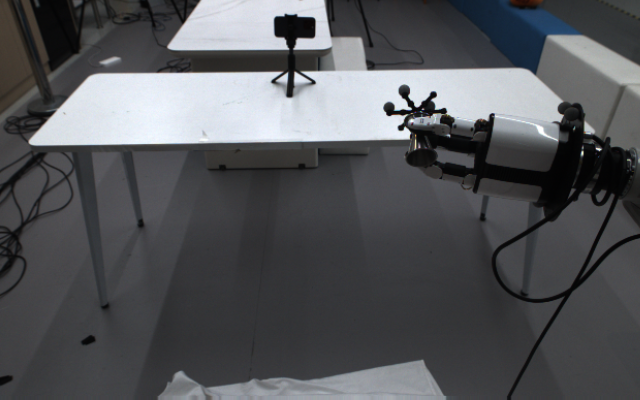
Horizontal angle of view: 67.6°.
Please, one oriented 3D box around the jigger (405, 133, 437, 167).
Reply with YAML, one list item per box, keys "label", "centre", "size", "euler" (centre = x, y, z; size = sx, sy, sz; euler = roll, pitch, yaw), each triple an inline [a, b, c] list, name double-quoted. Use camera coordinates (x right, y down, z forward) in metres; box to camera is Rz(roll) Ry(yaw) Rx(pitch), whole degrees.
- label: "jigger"
  centre: [0.141, -0.091, 0.687]
  size: [0.043, 0.043, 0.071]
  euler: [2, 58, -1]
